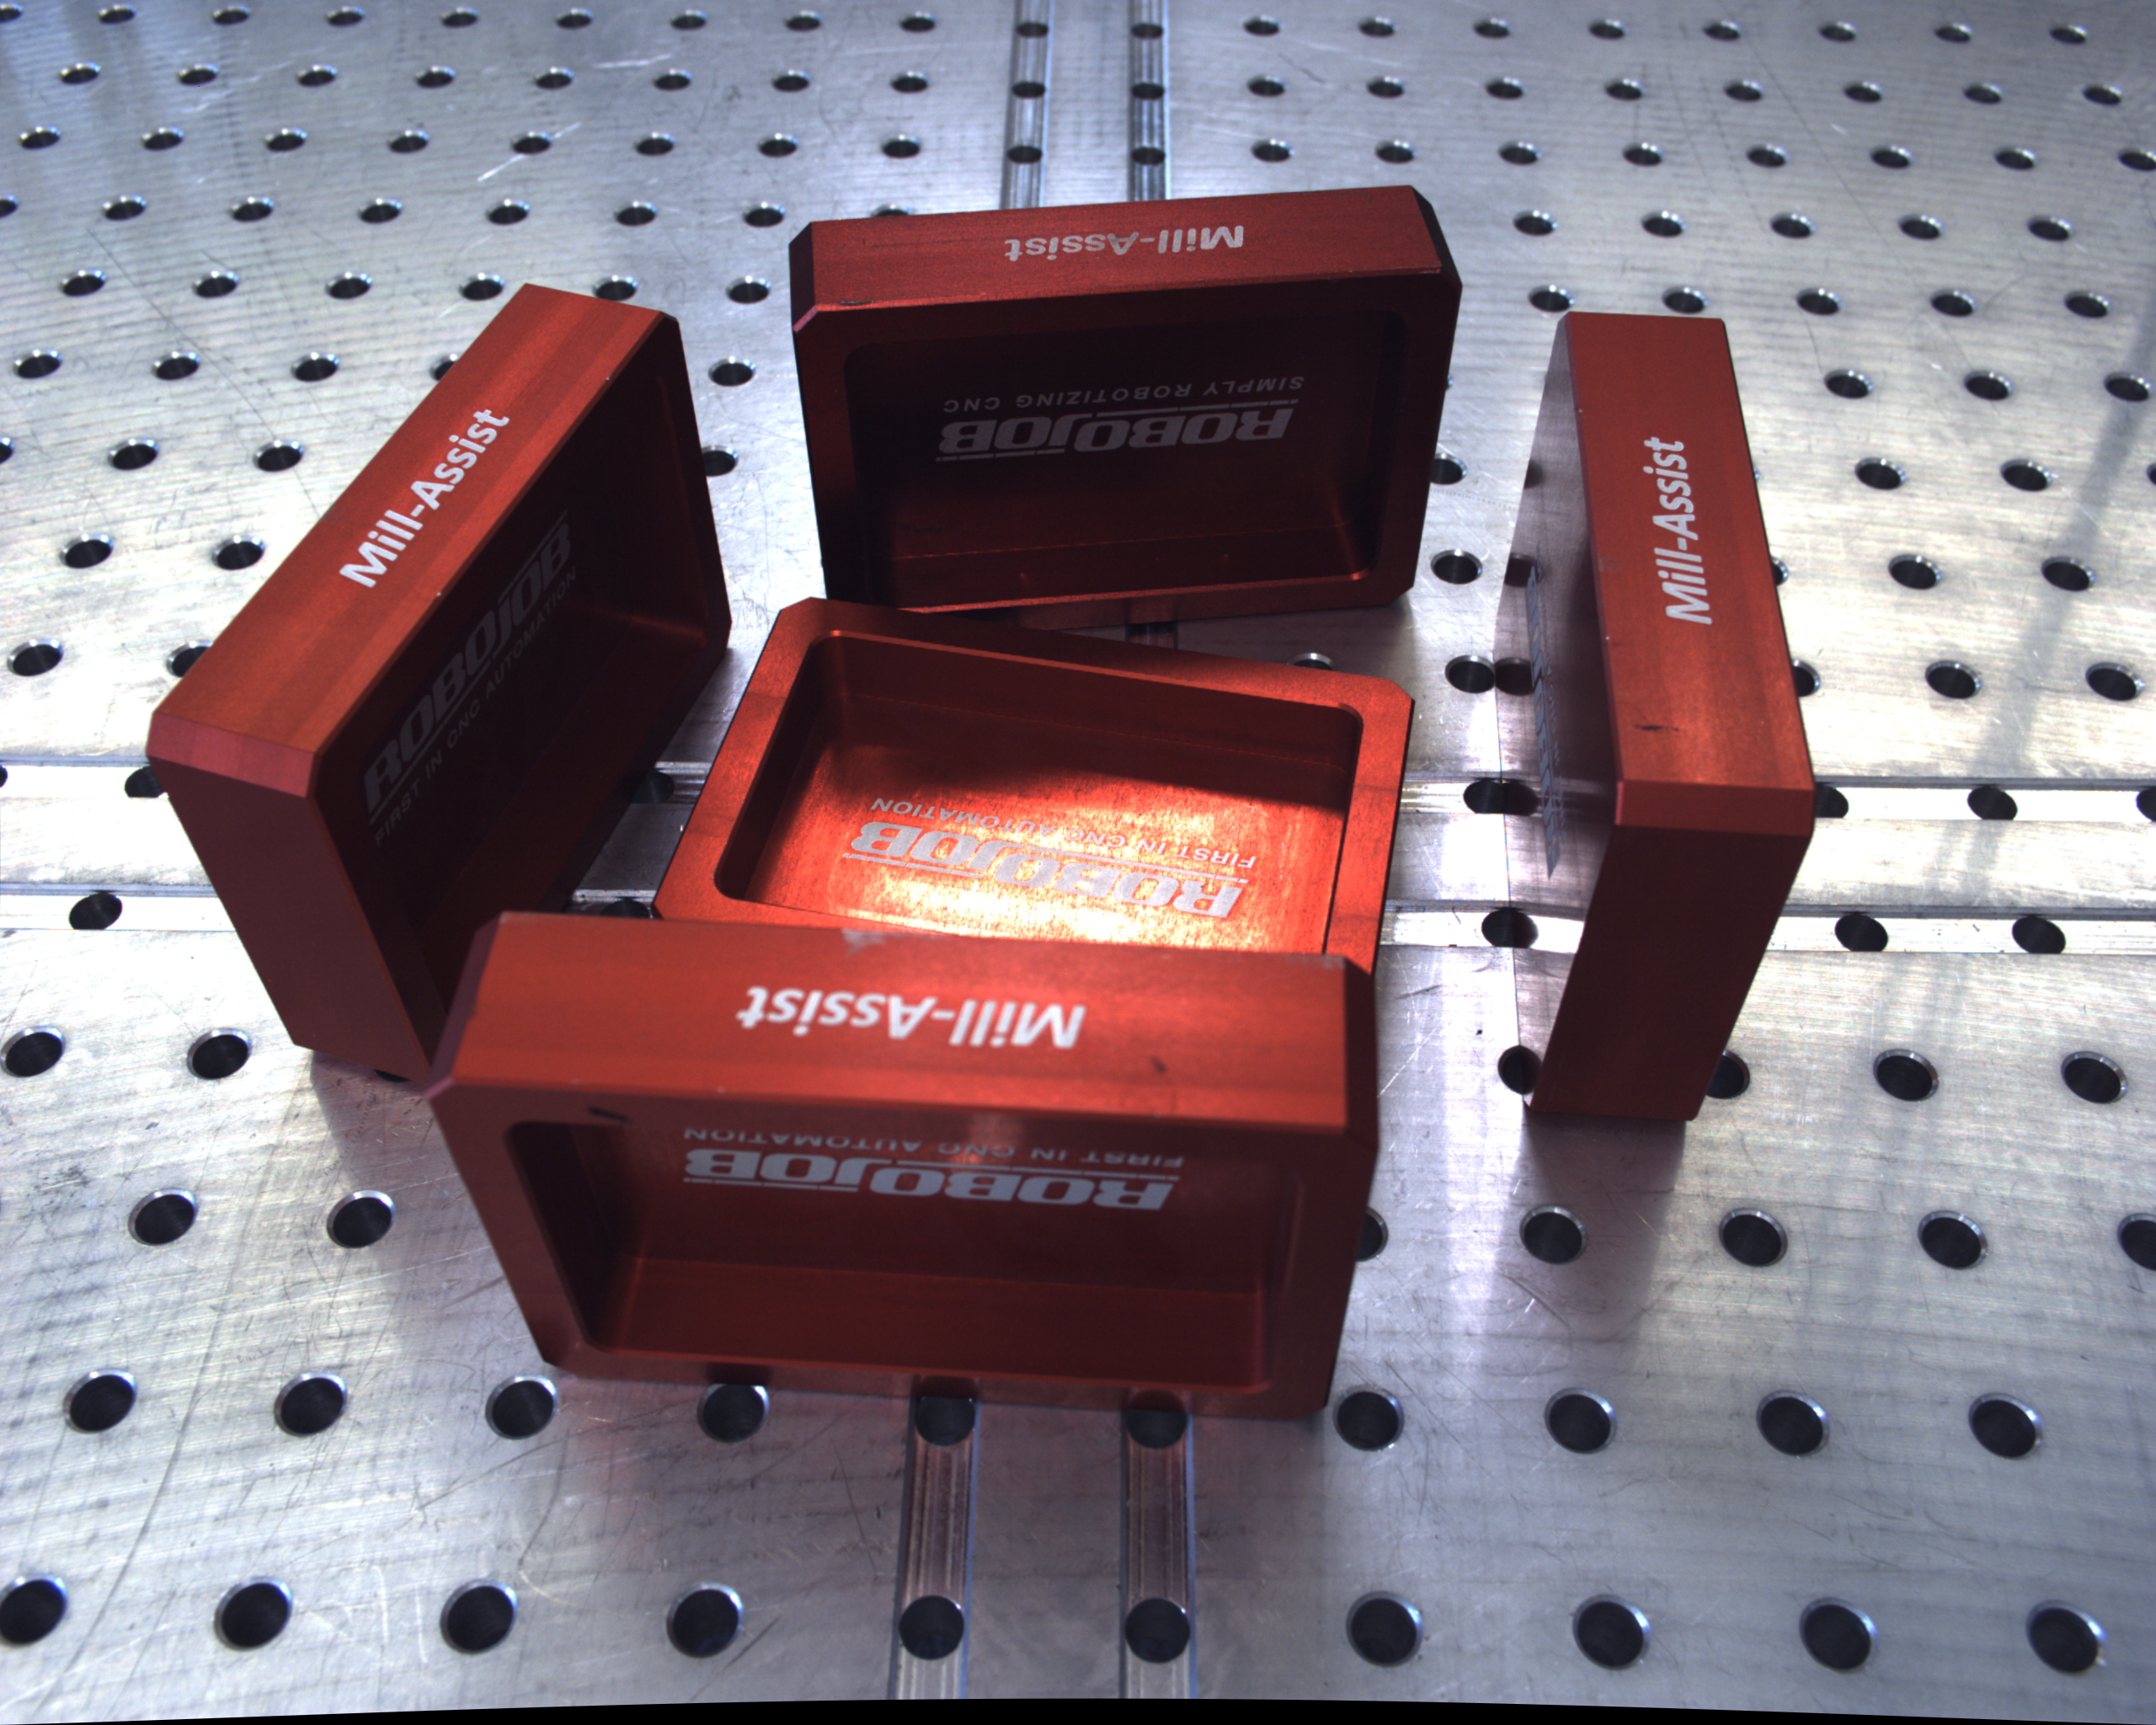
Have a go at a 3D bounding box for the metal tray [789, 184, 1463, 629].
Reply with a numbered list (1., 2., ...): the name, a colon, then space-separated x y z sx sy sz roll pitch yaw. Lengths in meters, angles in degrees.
1. metal tray: 0.009 -0.093 0.443 0.131 0.090 0.030 -5 50 -4

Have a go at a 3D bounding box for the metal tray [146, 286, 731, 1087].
1. metal tray: -0.111 -0.035 0.394 0.030 0.090 0.130 14 51 12

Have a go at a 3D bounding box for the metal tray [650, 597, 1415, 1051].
1. metal tray: -0.005 -0.003 0.406 0.131 0.030 0.090 9 50 7

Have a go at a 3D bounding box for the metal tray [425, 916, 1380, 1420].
1. metal tray: -0.023 0.050 0.324 0.131 0.090 0.030 3 50 3

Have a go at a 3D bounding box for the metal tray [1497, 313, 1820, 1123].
1. metal tray: 0.103 -0.029 0.390 0.030 0.090 0.130 4 50 3
